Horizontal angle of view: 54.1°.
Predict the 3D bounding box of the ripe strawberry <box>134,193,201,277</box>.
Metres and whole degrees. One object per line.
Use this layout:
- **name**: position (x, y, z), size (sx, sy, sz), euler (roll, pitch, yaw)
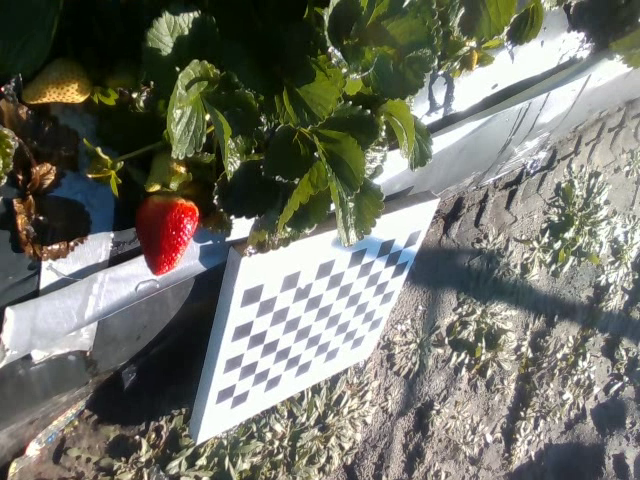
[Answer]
- **ripe strawberry**: position (-0.123, 0.001, 0.512), size (0.057, 0.065, 0.061), euler (-7, -15, 26)
